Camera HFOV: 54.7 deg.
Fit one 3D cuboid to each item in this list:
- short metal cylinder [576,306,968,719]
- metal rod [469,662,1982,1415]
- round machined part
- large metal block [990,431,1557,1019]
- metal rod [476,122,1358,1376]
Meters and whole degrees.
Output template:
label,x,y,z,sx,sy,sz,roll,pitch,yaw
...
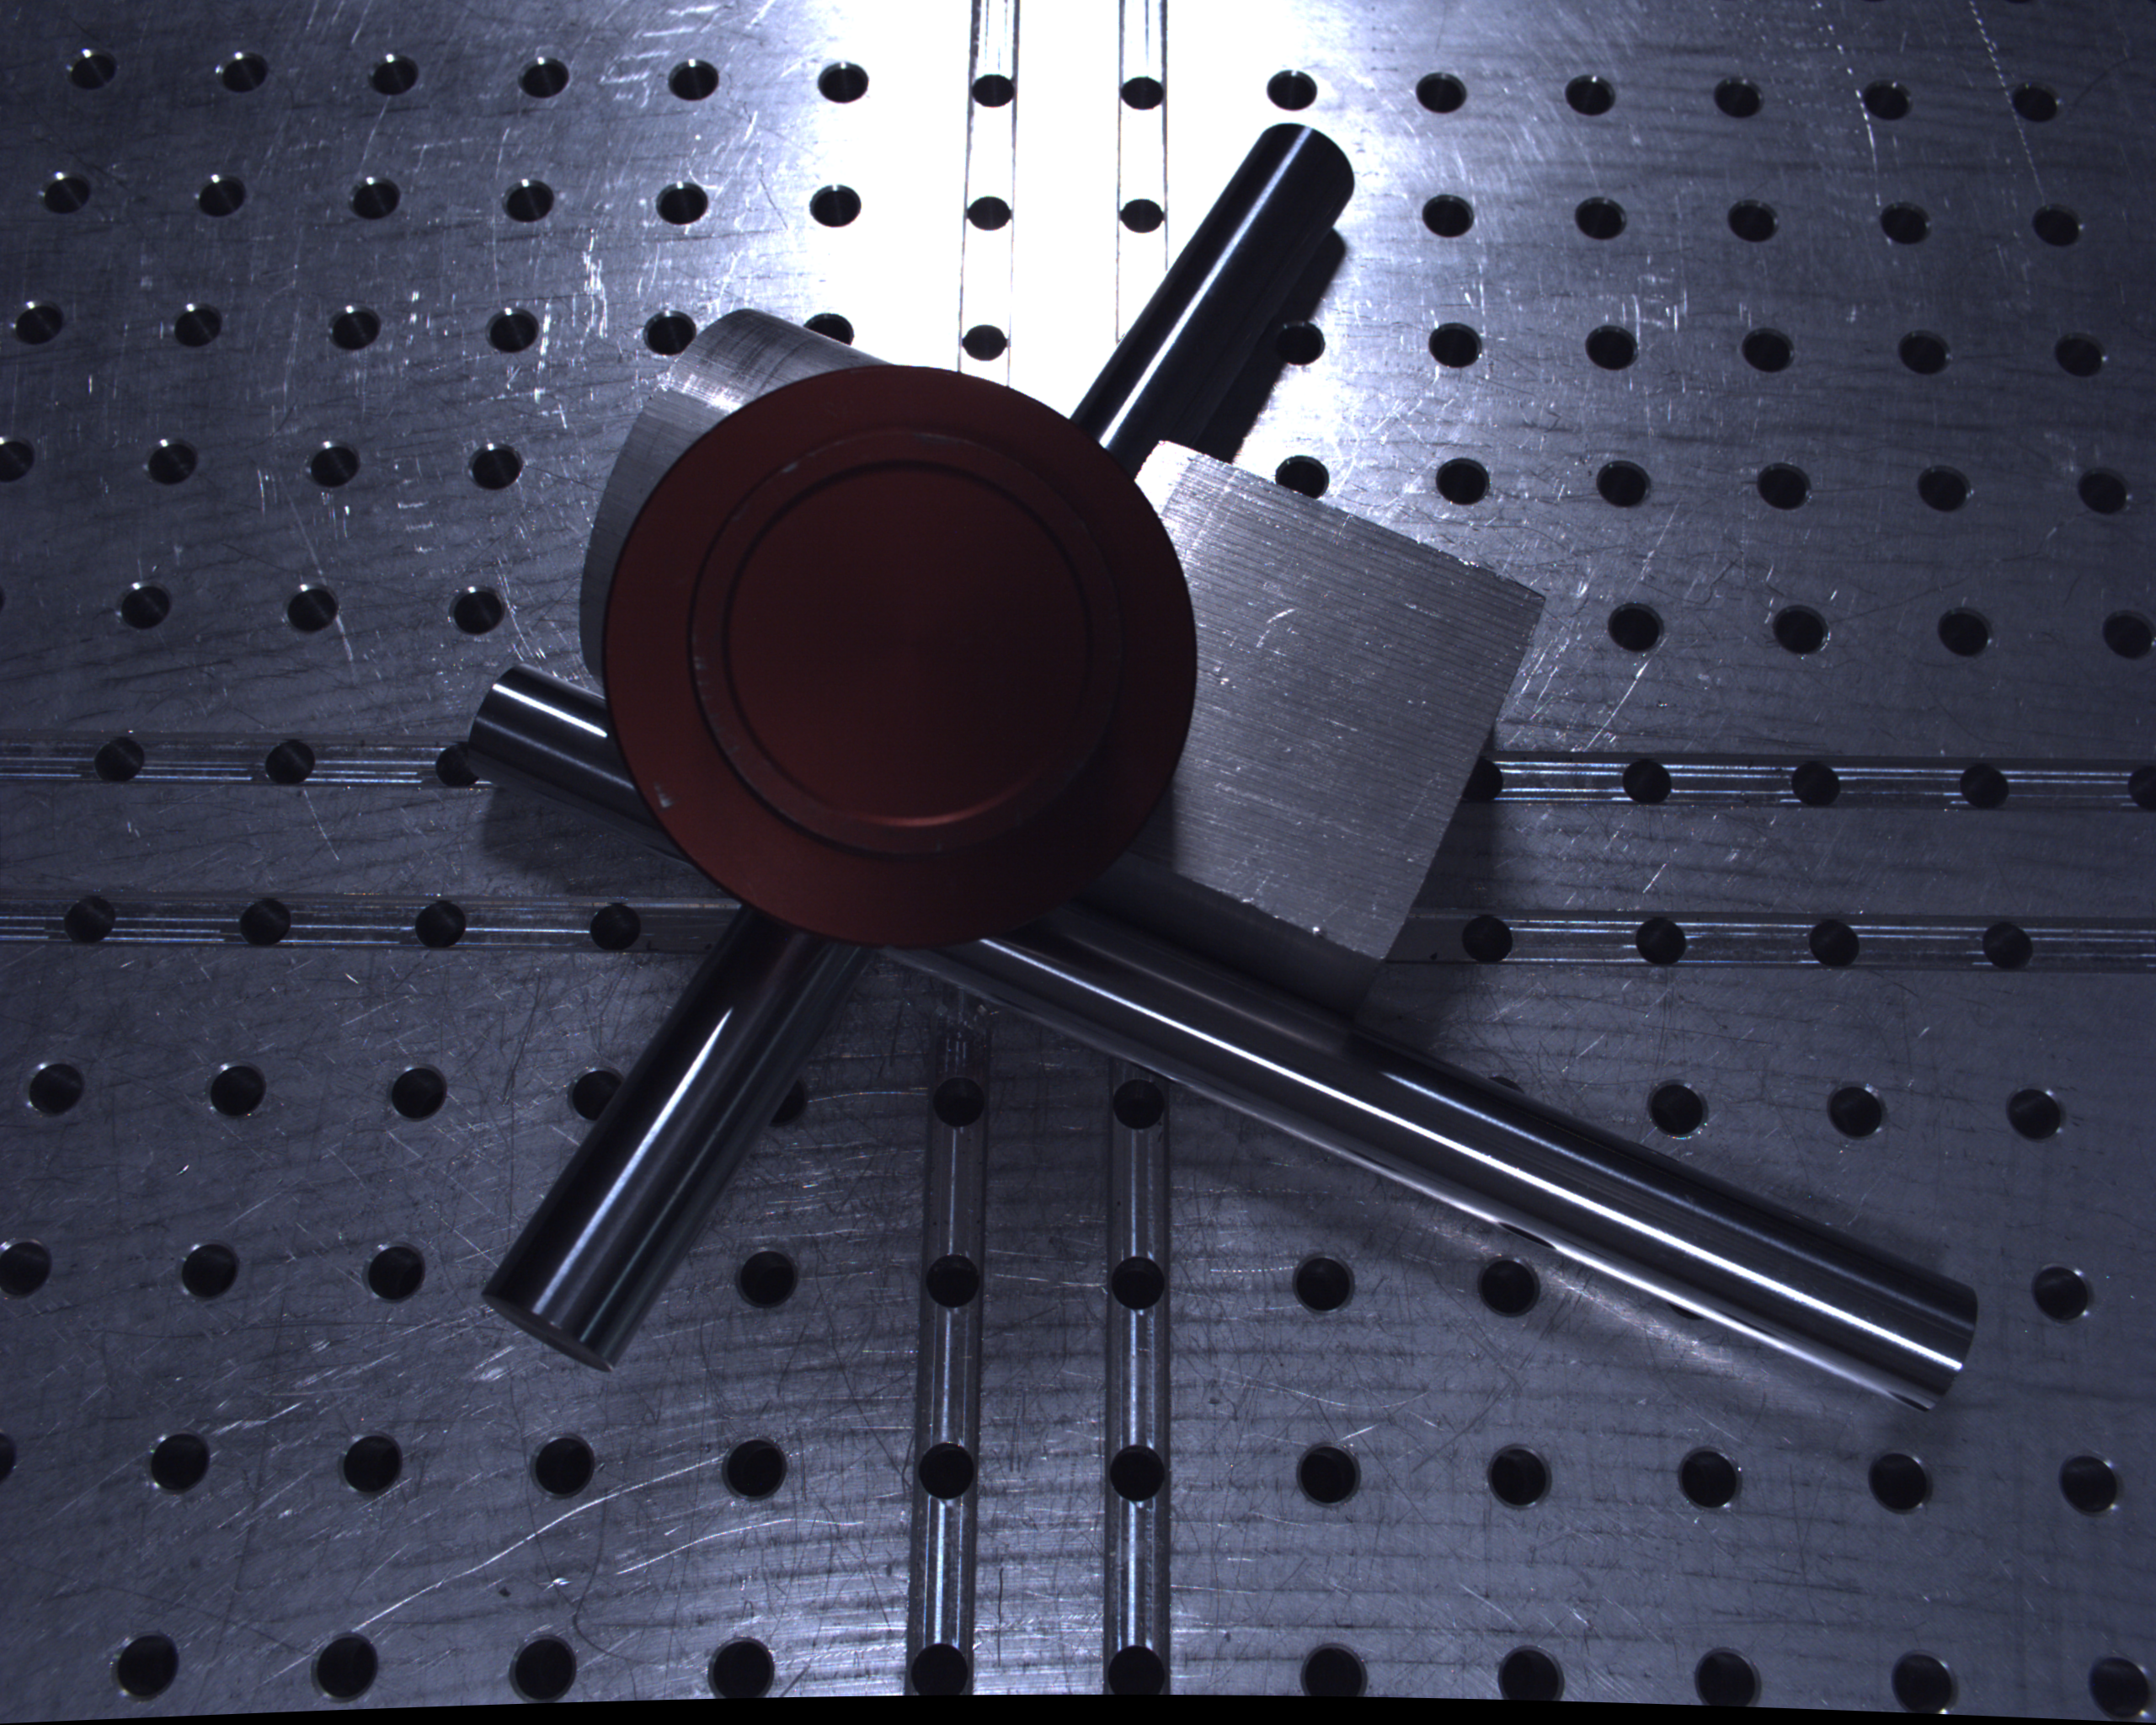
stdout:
label,x,y,z,sx,sy,sz,roll,pitch,yaw
short metal cylinder,-0.053,-0.060,0.403,0.050,0.080,0.080,24,72,8
metal rod,0.022,0.030,0.400,0.301,0.025,0.025,23,72,8
round machined part,-0.029,-0.034,0.345,0.099,0.042,0.097,0,90,-7
large metal block,0.035,-0.024,0.404,0.080,0.050,0.080,24,72,8
metal rod,-0.018,-0.039,0.405,0.025,0.025,0.300,27,64,9
